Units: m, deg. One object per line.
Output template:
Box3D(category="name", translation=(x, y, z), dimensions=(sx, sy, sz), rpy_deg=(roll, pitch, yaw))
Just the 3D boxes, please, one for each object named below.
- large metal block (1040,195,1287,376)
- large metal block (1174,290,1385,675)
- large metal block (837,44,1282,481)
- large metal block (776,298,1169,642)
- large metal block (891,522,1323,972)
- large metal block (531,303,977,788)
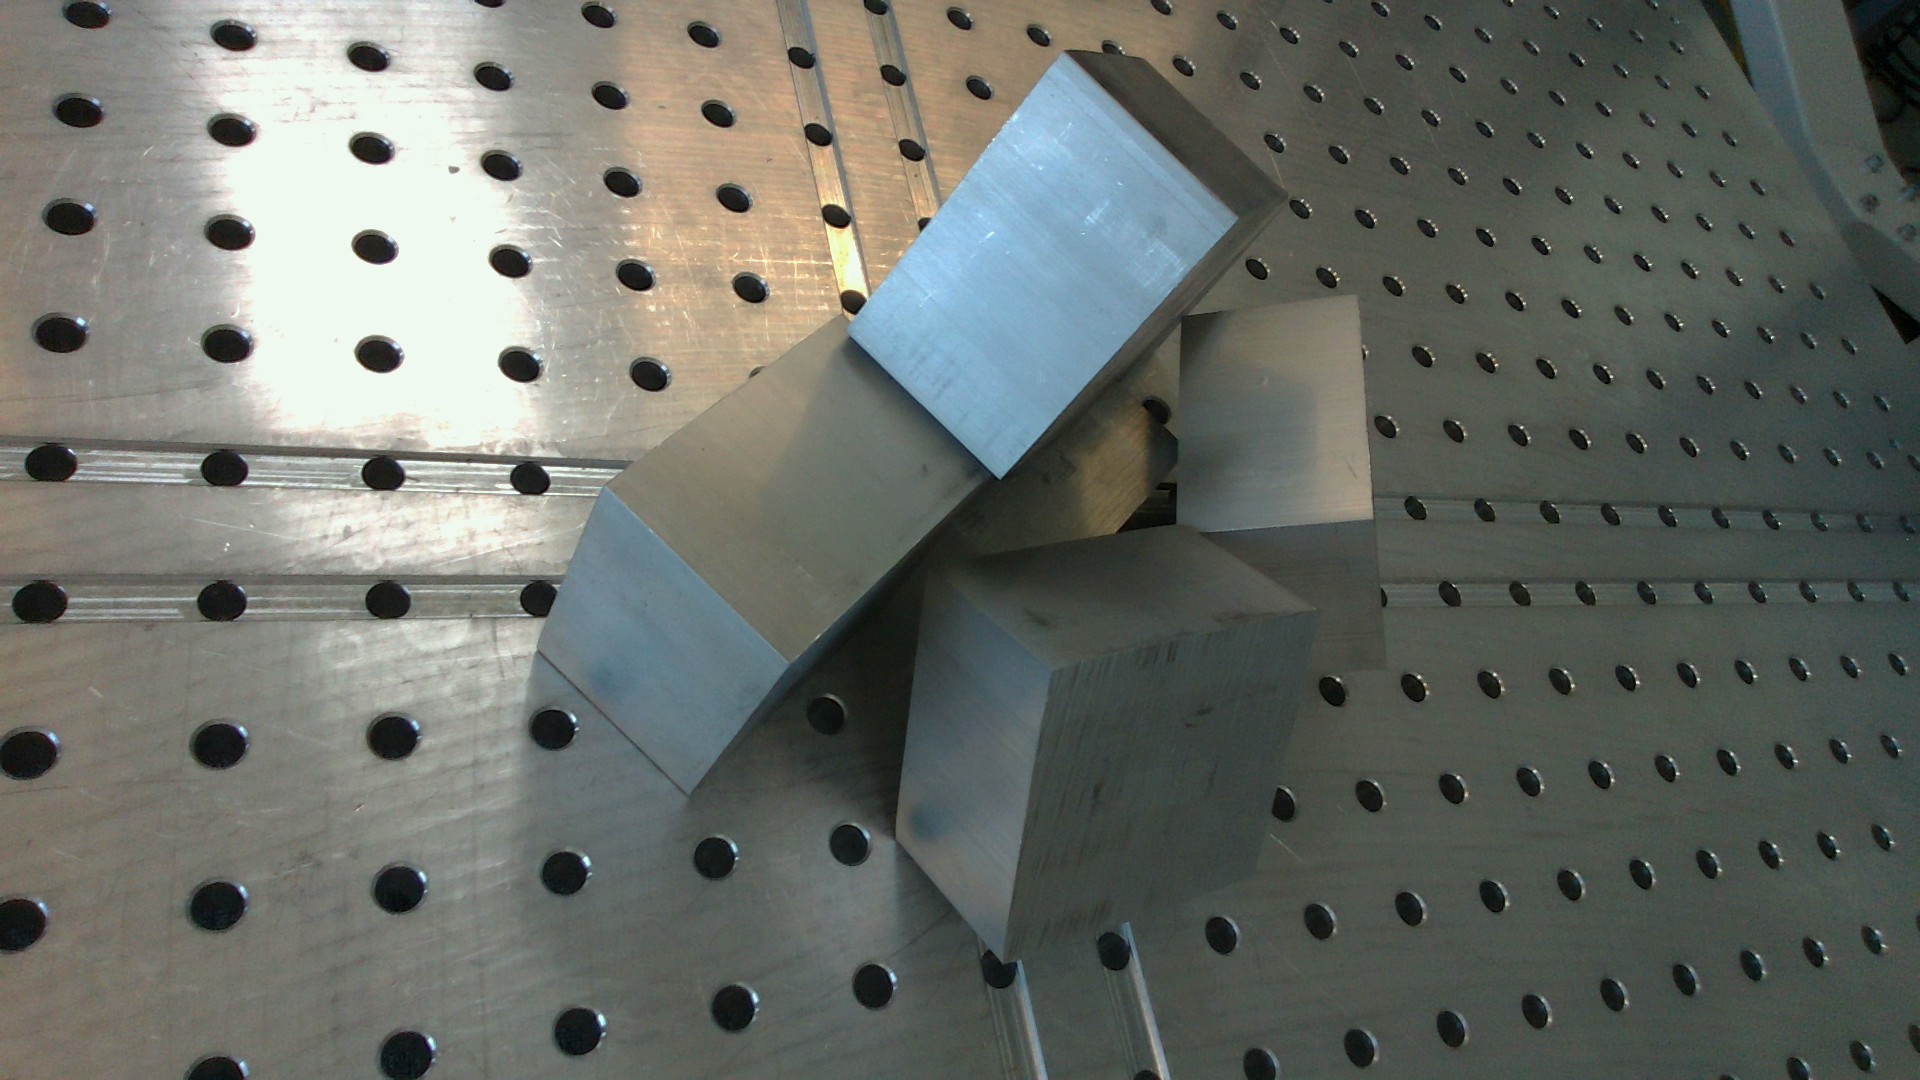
Box3D(category="large metal block", translation=(0.044, -0.081, 0.430), dimensions=(0.050, 0.080, 0.080), rpy_deg=(43, 51, 1))
Box3D(category="large metal block", translation=(0.095, -0.014, 0.408), dimensions=(0.050, 0.080, 0.080), rpy_deg=(-5, 55, 17))
Box3D(category="large metal block", translation=(0.028, -0.069, 0.333), dimensions=(0.050, 0.080, 0.080), rpy_deg=(44, 26, 3))
Box3D(category="large metal block", translation=(0.004, -0.019, 0.392), dimensions=(0.080, 0.050, 0.080), rpy_deg=(43, 51, 2))
Box3D(category="large metal block", translation=(0.034, 0.047, 0.337), dimensions=(0.080, 0.080, 0.050), rpy_deg=(-9, 30, -32))
Box3D(category="large metal block", translation=(-0.048, 0.002, 0.329), dimensions=(0.050, 0.080, 0.080), rpy_deg=(44, 51, 2))
